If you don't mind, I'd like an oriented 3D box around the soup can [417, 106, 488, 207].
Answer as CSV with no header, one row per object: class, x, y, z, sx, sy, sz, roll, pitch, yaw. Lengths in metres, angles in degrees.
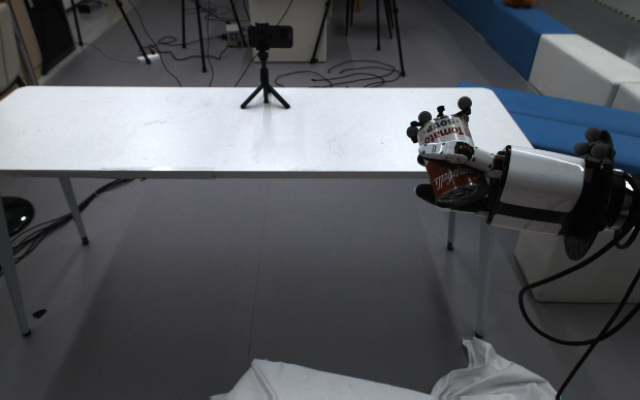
soup can,0.171,-0.050,0.625,0.067,0.067,0.101,-7,68,-12
